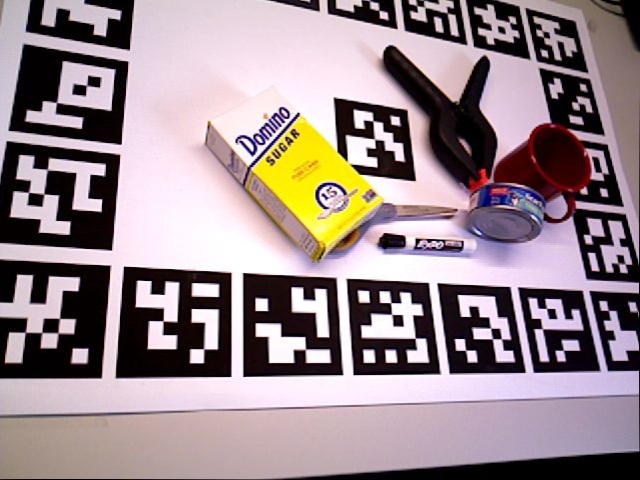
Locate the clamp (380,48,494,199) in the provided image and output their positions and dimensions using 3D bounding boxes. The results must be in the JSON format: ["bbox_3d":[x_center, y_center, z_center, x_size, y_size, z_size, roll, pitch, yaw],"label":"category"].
[{"bbox_3d":[0.171,-0.151,0.695,0.163,0.037,0.202,-6,75,-24],"label":"clamp"}]

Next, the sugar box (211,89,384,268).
[{"bbox_3d":[-0.023,-0.068,0.567,0.091,0.046,0.176,-35,81,-28],"label":"sugar box"}]

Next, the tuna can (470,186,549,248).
[{"bbox_3d":[0.219,-0.025,0.630,0.085,0.087,0.033,21,64,-13],"label":"tuna can"}]

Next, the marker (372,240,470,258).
[{"bbox_3d":[0.115,0.011,0.615,0.119,0.020,0.019,1,72,-20],"label":"marker"}]

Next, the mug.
[{"bbox_3d":[0.270,-0.068,0.671,0.091,0.083,0.117,-25,78,-27],"label":"mug"}]

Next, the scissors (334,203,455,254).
[{"bbox_3d":[0.071,-0.033,0.610,0.199,0.016,0.087,-6,70,-25],"label":"scissors"}]
